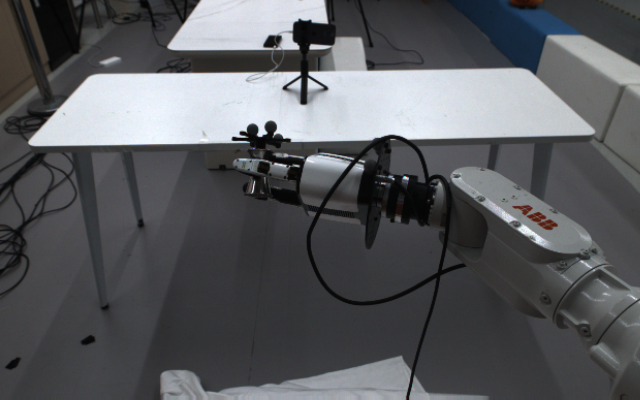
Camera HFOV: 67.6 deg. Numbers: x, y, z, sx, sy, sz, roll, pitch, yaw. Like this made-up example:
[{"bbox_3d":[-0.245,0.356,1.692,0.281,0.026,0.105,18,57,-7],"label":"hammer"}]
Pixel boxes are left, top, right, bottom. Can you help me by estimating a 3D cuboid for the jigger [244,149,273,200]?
[{"bbox_3d":[-0.091,-0.040,0.722,0.043,0.071,0.043,2,-6,0],"label":"jigger"}]
